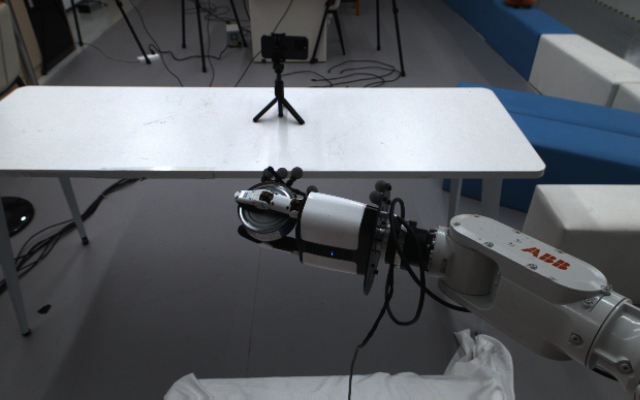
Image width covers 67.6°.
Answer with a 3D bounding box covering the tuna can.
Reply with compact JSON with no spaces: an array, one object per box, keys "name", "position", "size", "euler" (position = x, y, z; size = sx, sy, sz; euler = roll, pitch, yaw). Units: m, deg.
[{"name":"tuna can","position":[-0.075,0.016,0.709],"size":[0.085,0.034,0.085],"euler":[-4,56,6]}]
